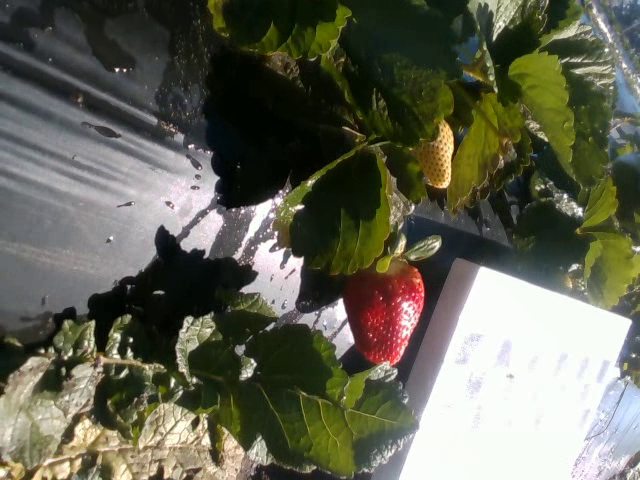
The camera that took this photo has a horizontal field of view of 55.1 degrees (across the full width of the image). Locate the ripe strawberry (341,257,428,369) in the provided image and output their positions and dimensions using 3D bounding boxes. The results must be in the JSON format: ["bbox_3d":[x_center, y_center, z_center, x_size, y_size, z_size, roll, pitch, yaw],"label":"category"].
[{"bbox_3d":[0.036,0.042,0.335,0.048,0.069,0.040,-6,14,-39],"label":"ripe strawberry"}]
